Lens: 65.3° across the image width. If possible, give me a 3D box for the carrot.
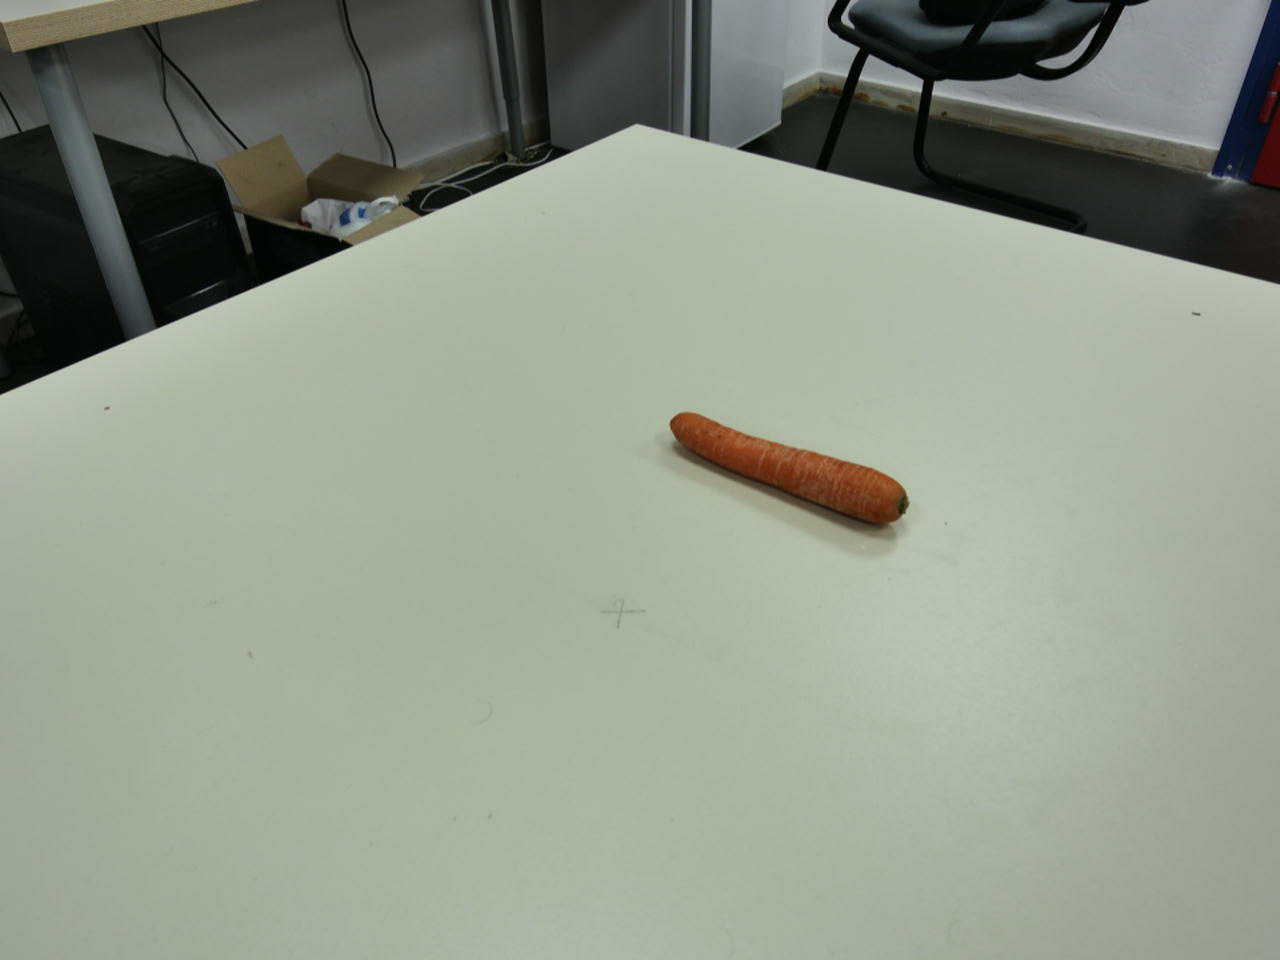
[{"bbox_3d":[0.065,-0.008,0.458,0.122,0.023,0.024,24,42,29],"label":"carrot"}]
